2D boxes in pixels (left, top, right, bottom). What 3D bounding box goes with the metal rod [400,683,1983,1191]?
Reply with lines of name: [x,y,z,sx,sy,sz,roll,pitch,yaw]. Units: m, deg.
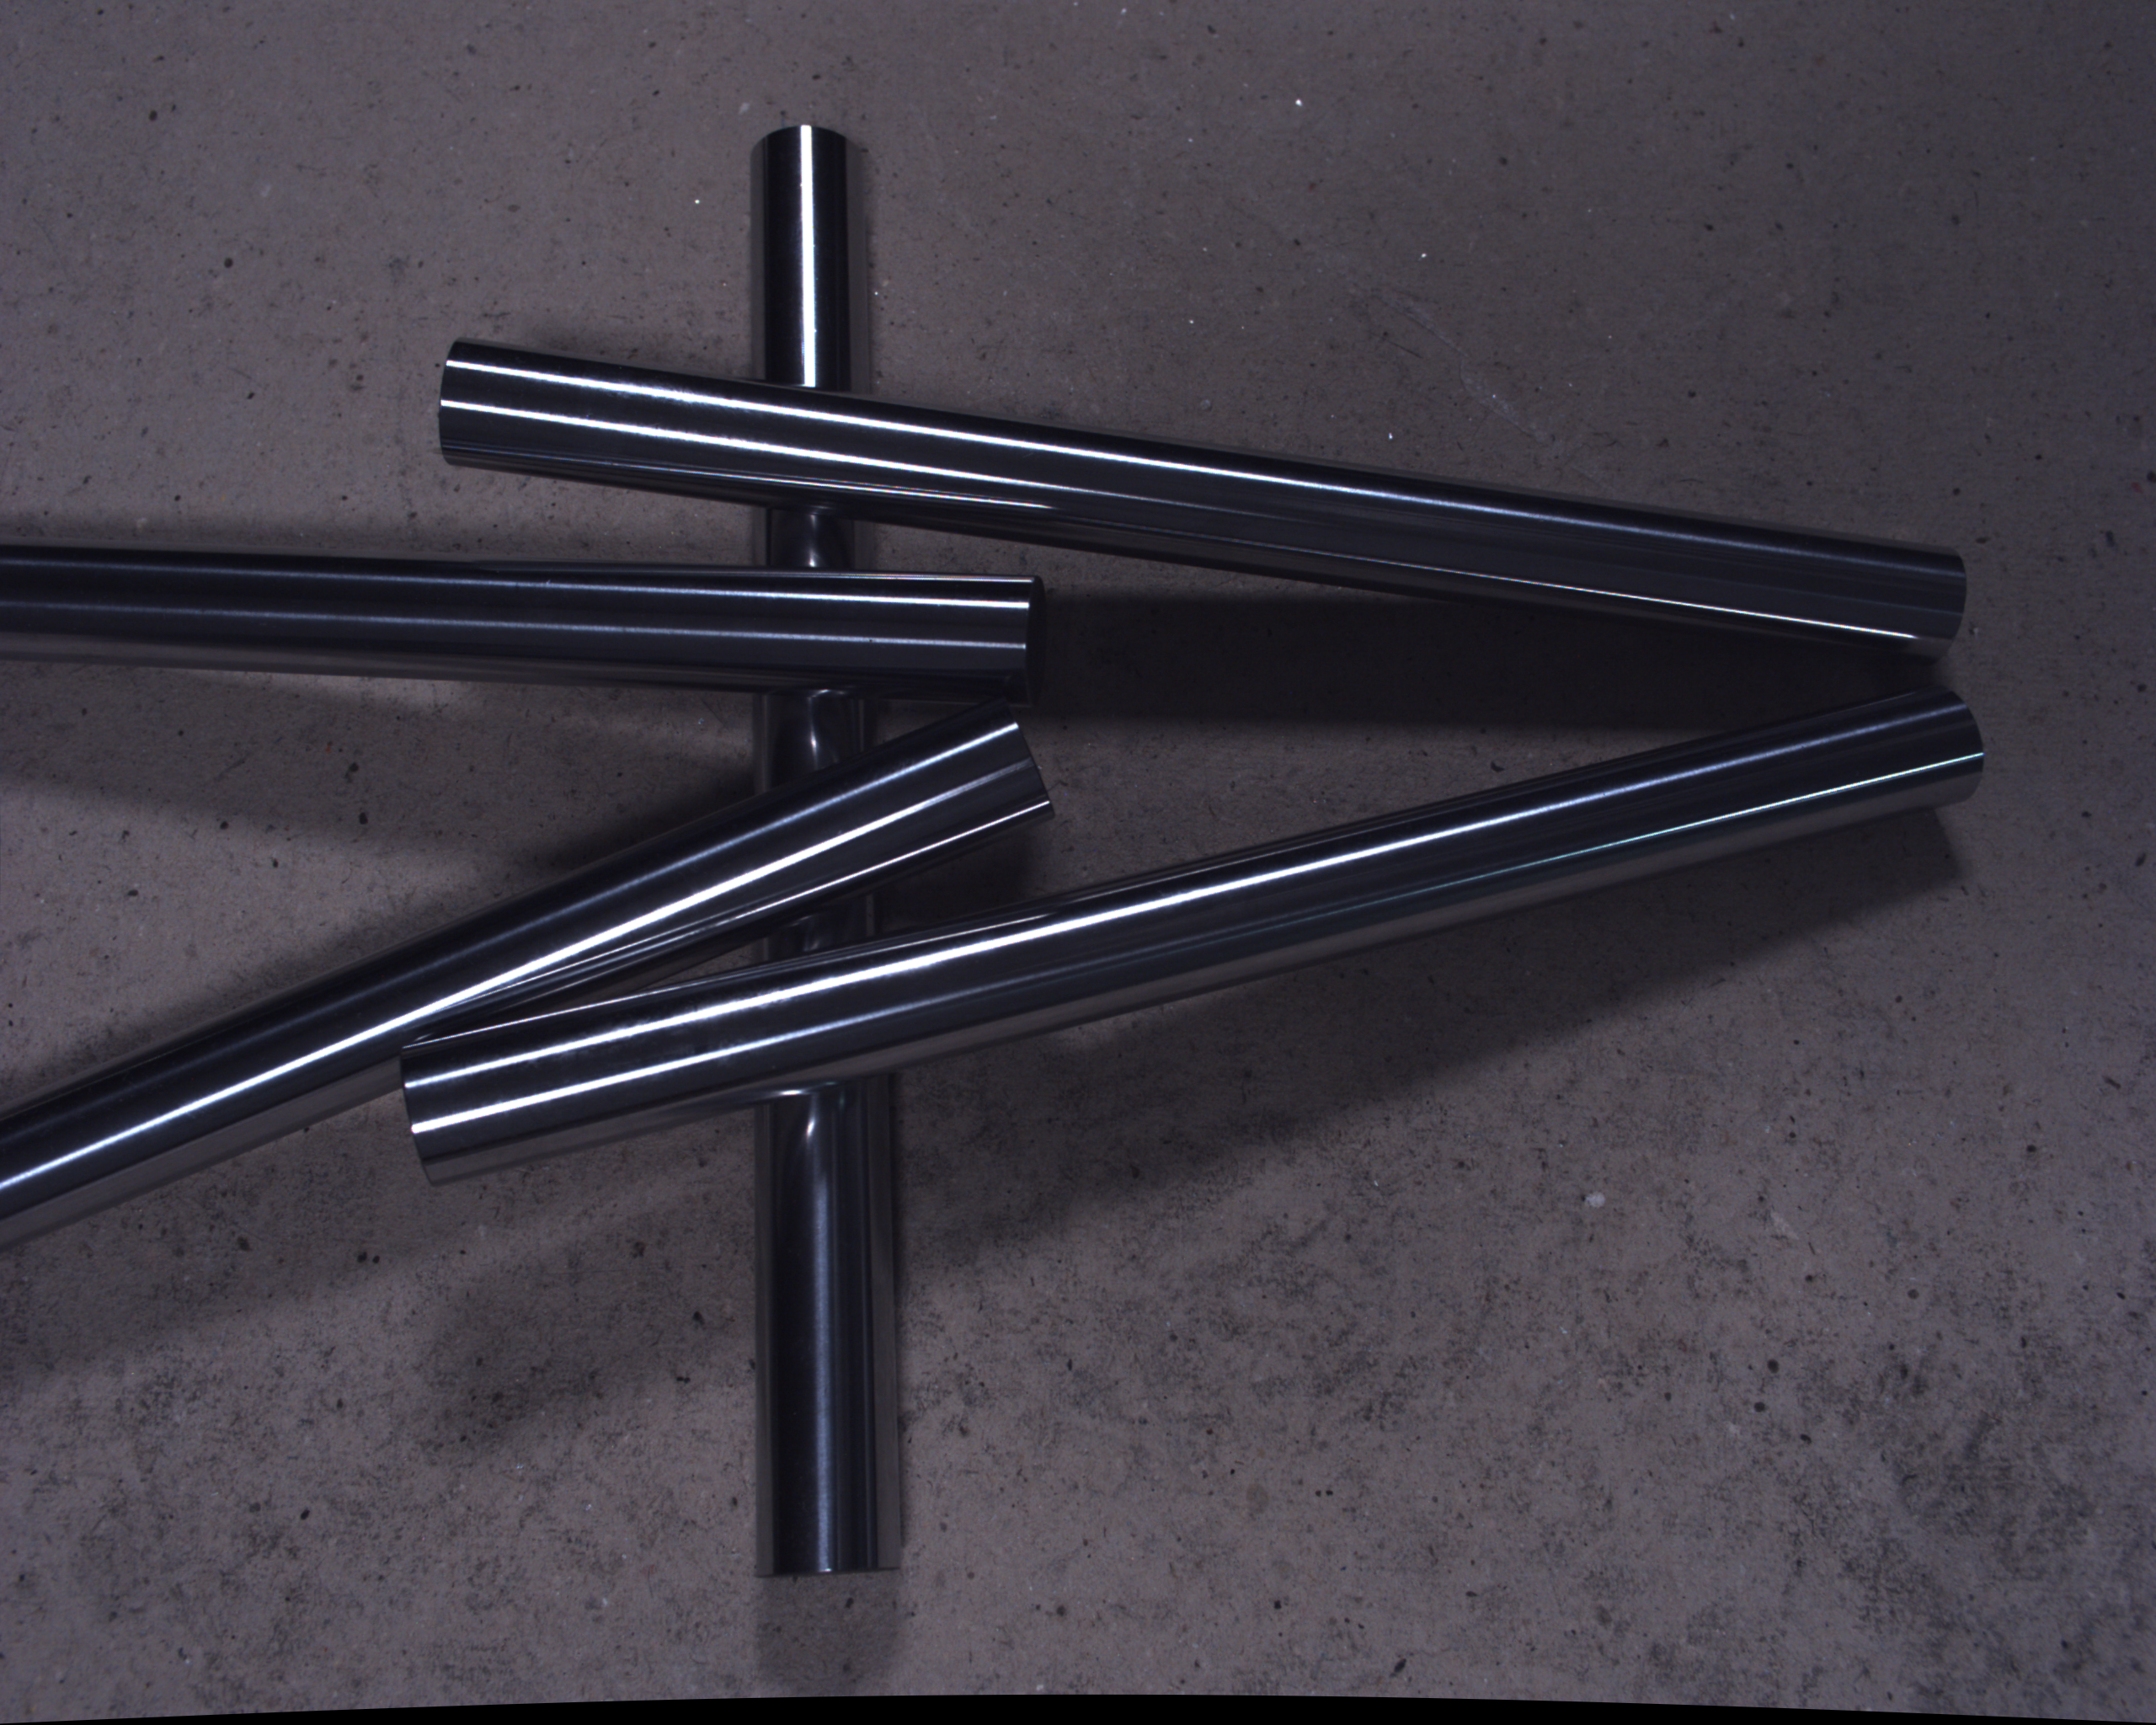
metal rod: [0.031,0.010,0.389,0.302,0.025,0.025,-13,71,-12]

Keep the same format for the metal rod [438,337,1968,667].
metal rod: [0.028,-0.071,0.418,0.302,0.025,0.025,7,70,-5]

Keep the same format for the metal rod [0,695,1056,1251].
metal rod: [-0.148,0.038,0.379,0.302,0.025,0.025,-22,72,-3]

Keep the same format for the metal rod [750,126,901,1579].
metal rod: [-0.052,-0.016,0.414,0.025,0.025,0.299,-3,70,-2]

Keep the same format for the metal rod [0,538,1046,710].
metal rod: [-0.157,-0.049,0.410,0.302,0.025,0.025,3,70,6]
